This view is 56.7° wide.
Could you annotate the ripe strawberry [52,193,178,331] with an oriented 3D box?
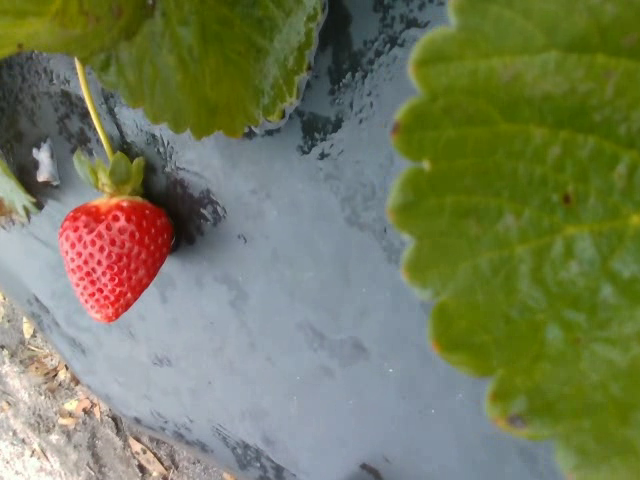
[{"bbox_3d":[-0.082,0.007,0.235,0.048,0.054,0.045,5,-1,-32],"label":"ripe strawberry"}]
